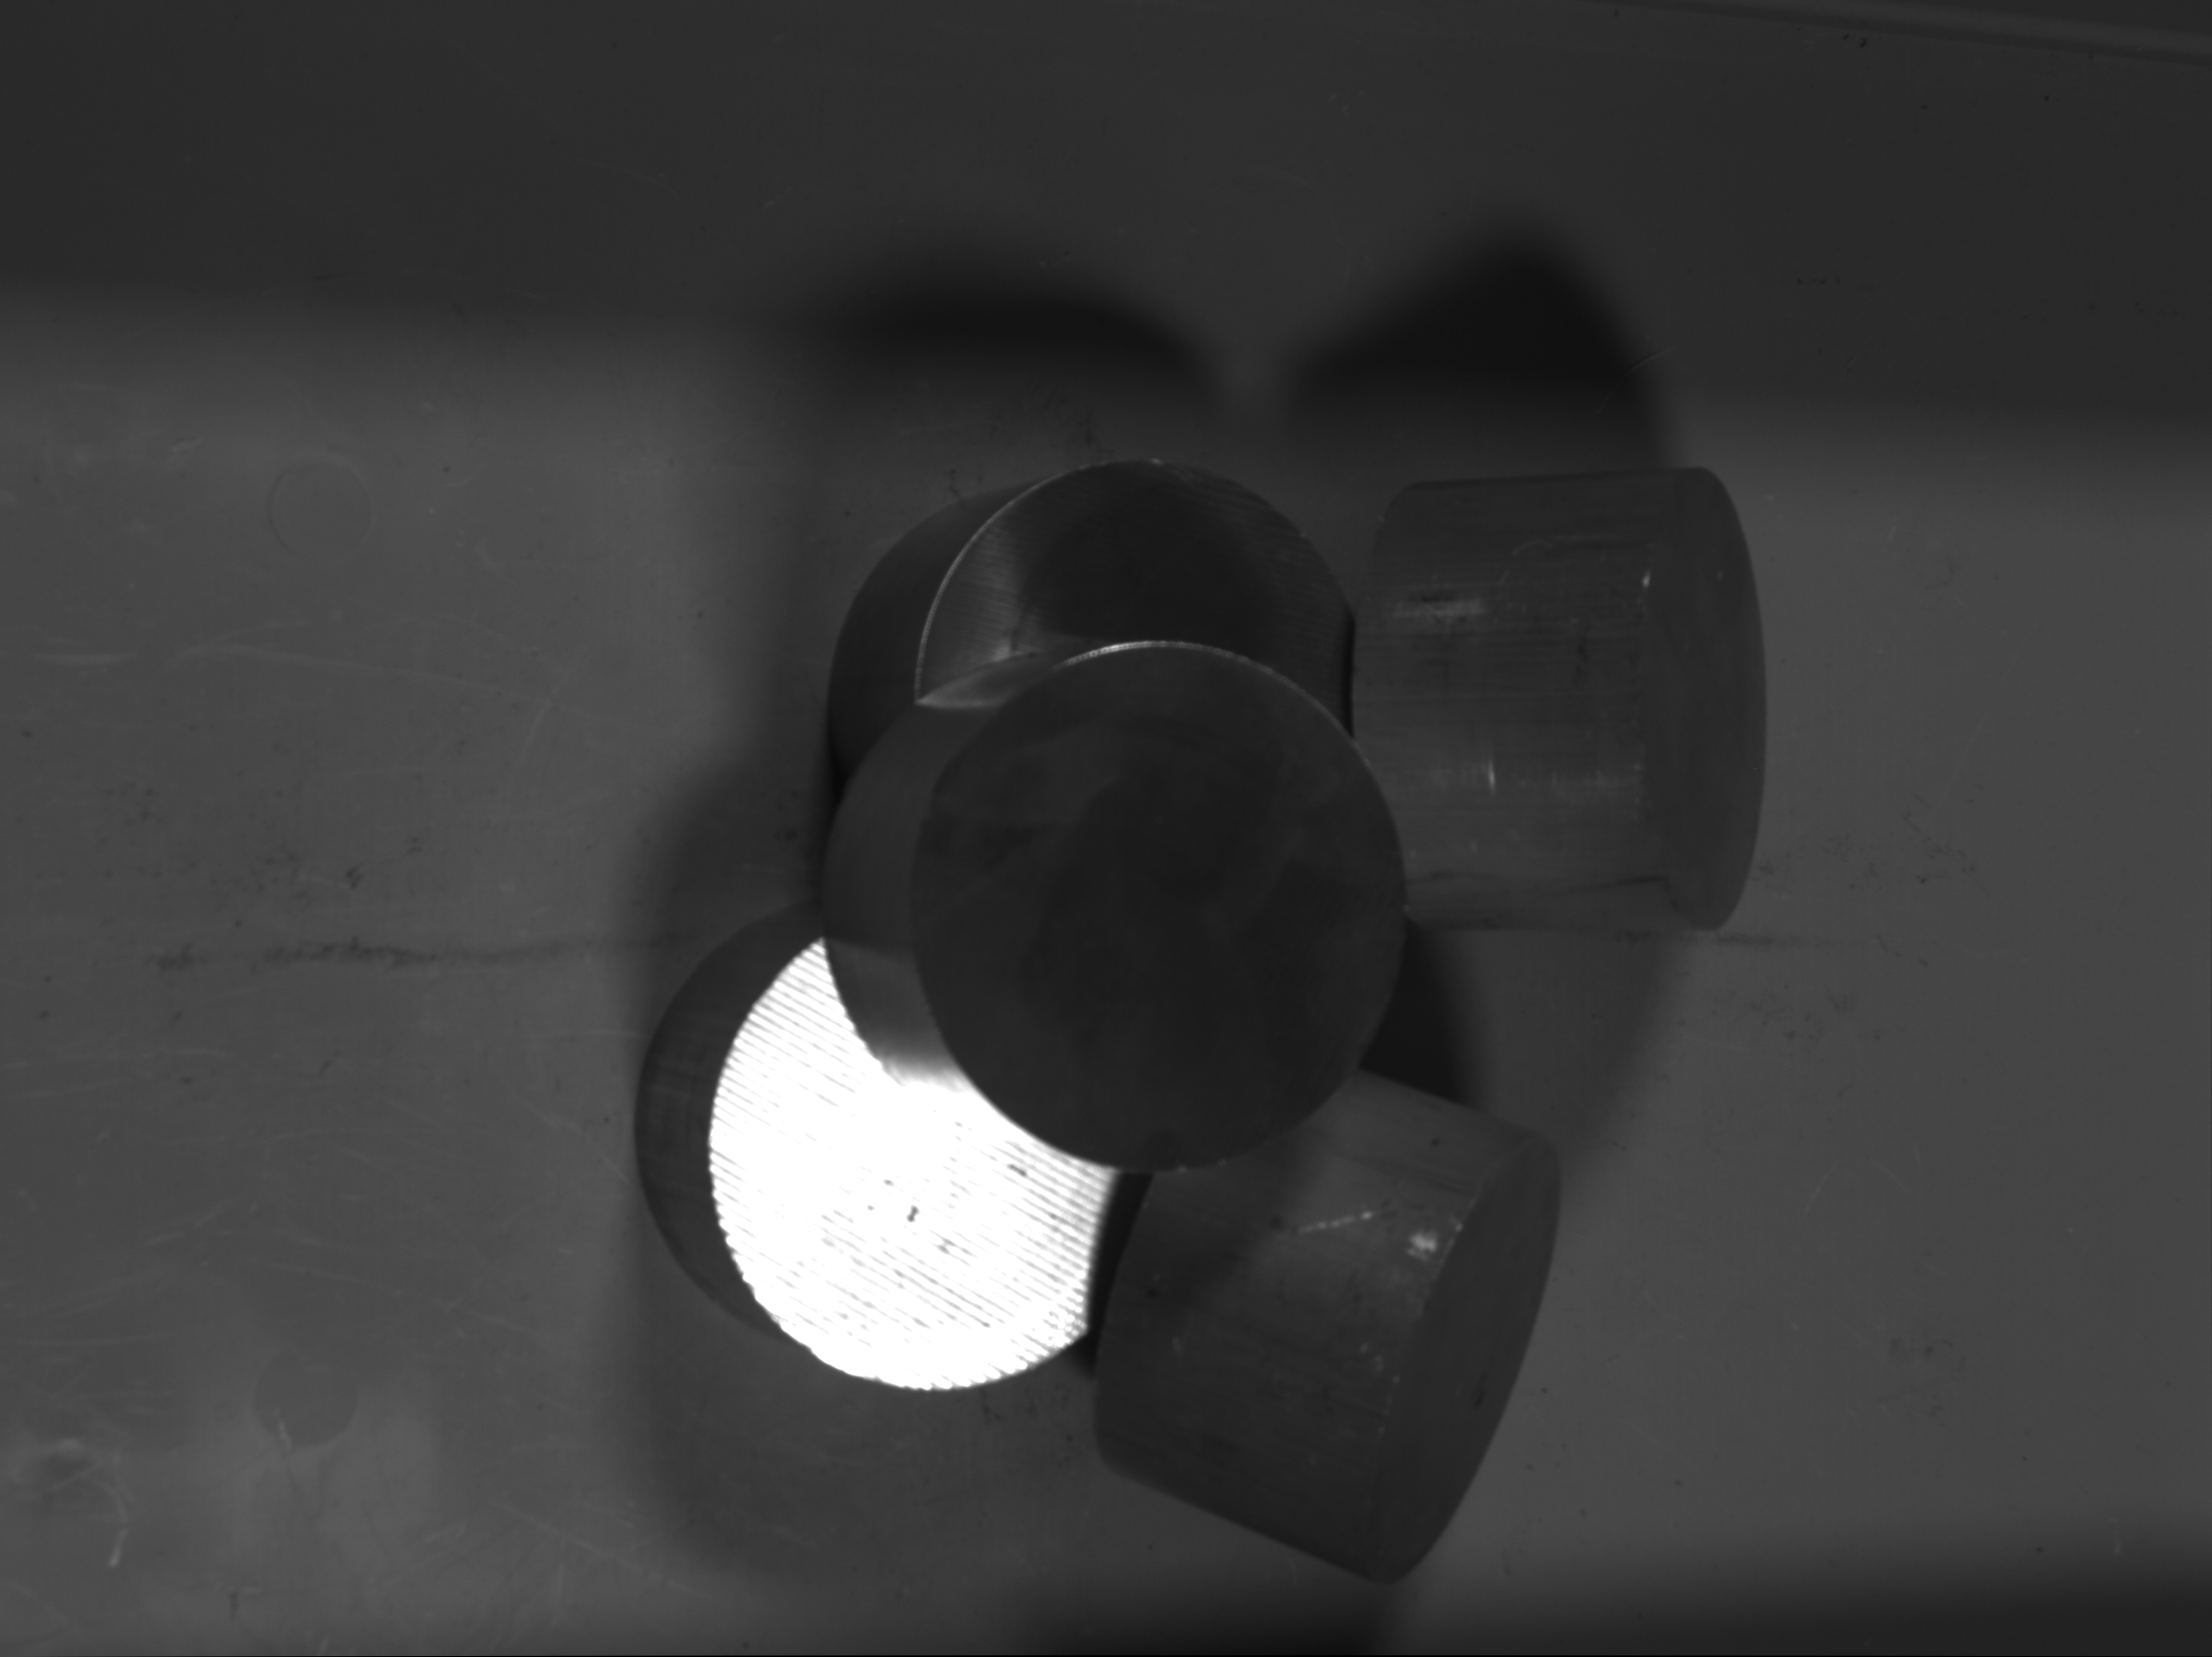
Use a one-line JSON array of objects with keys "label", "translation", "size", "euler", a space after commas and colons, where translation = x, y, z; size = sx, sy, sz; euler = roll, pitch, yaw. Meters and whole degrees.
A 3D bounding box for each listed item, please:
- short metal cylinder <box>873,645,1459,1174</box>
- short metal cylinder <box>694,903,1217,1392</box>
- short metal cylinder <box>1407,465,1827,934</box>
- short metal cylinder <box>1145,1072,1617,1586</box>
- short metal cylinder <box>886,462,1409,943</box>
[{"label": "short metal cylinder", "translation": [0.009, 0.012, 0.578], "size": [0.080, 0.050, 0.080], "euler": [0, 90, -20]}, {"label": "short metal cylinder", "translation": [-0.025, 0.052, 0.620], "size": [0.080, 0.050, 0.080], "euler": [0, 90, -20]}, {"label": "short metal cylinder", "translation": [0.091, -0.022, 0.640], "size": [0.080, 0.050, 0.080], "euler": [6, 84, -64]}, {"label": "short metal cylinder", "translation": [0.048, 0.081, 0.623], "size": [0.050, 0.080, 0.080], "euler": [19, 81, 22]}, {"label": "short metal cylinder", "translation": [0.008, -0.021, 0.631], "size": [0.080, 0.050, 0.080], "euler": [0, 90, -20]}]
